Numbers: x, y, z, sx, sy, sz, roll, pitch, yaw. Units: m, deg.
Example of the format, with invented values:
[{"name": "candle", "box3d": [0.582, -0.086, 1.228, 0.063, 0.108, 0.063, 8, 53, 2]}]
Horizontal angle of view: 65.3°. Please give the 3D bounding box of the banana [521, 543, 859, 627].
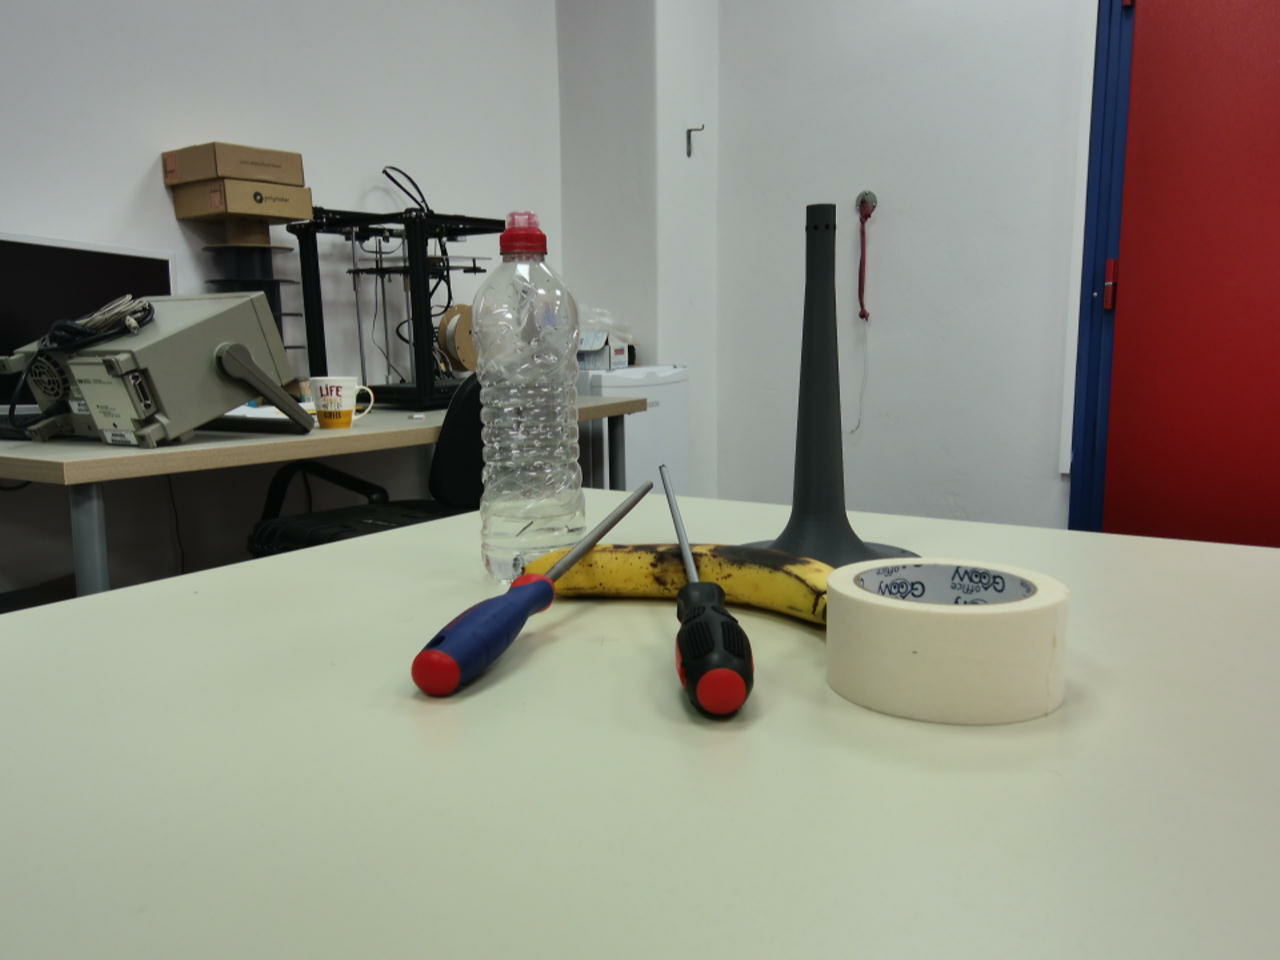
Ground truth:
[{"name": "banana", "box3d": [0.036, 0.060, 0.605, 0.222, 0.037, 0.084, 5, 8, 35]}]
